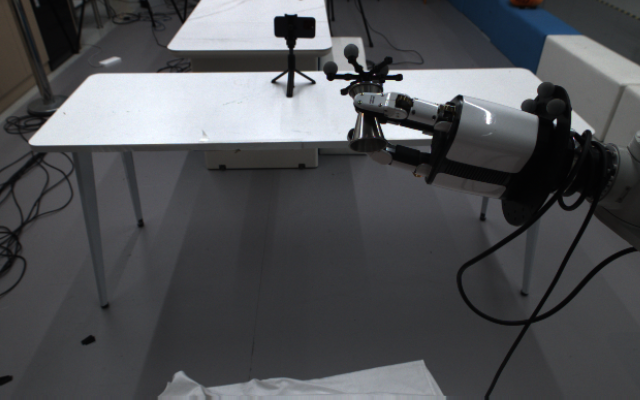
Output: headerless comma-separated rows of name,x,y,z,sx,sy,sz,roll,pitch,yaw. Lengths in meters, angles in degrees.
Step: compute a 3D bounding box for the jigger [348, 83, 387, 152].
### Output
jigger,0.054,-0.094,0.545,0.043,0.043,0.071,0,75,-3
